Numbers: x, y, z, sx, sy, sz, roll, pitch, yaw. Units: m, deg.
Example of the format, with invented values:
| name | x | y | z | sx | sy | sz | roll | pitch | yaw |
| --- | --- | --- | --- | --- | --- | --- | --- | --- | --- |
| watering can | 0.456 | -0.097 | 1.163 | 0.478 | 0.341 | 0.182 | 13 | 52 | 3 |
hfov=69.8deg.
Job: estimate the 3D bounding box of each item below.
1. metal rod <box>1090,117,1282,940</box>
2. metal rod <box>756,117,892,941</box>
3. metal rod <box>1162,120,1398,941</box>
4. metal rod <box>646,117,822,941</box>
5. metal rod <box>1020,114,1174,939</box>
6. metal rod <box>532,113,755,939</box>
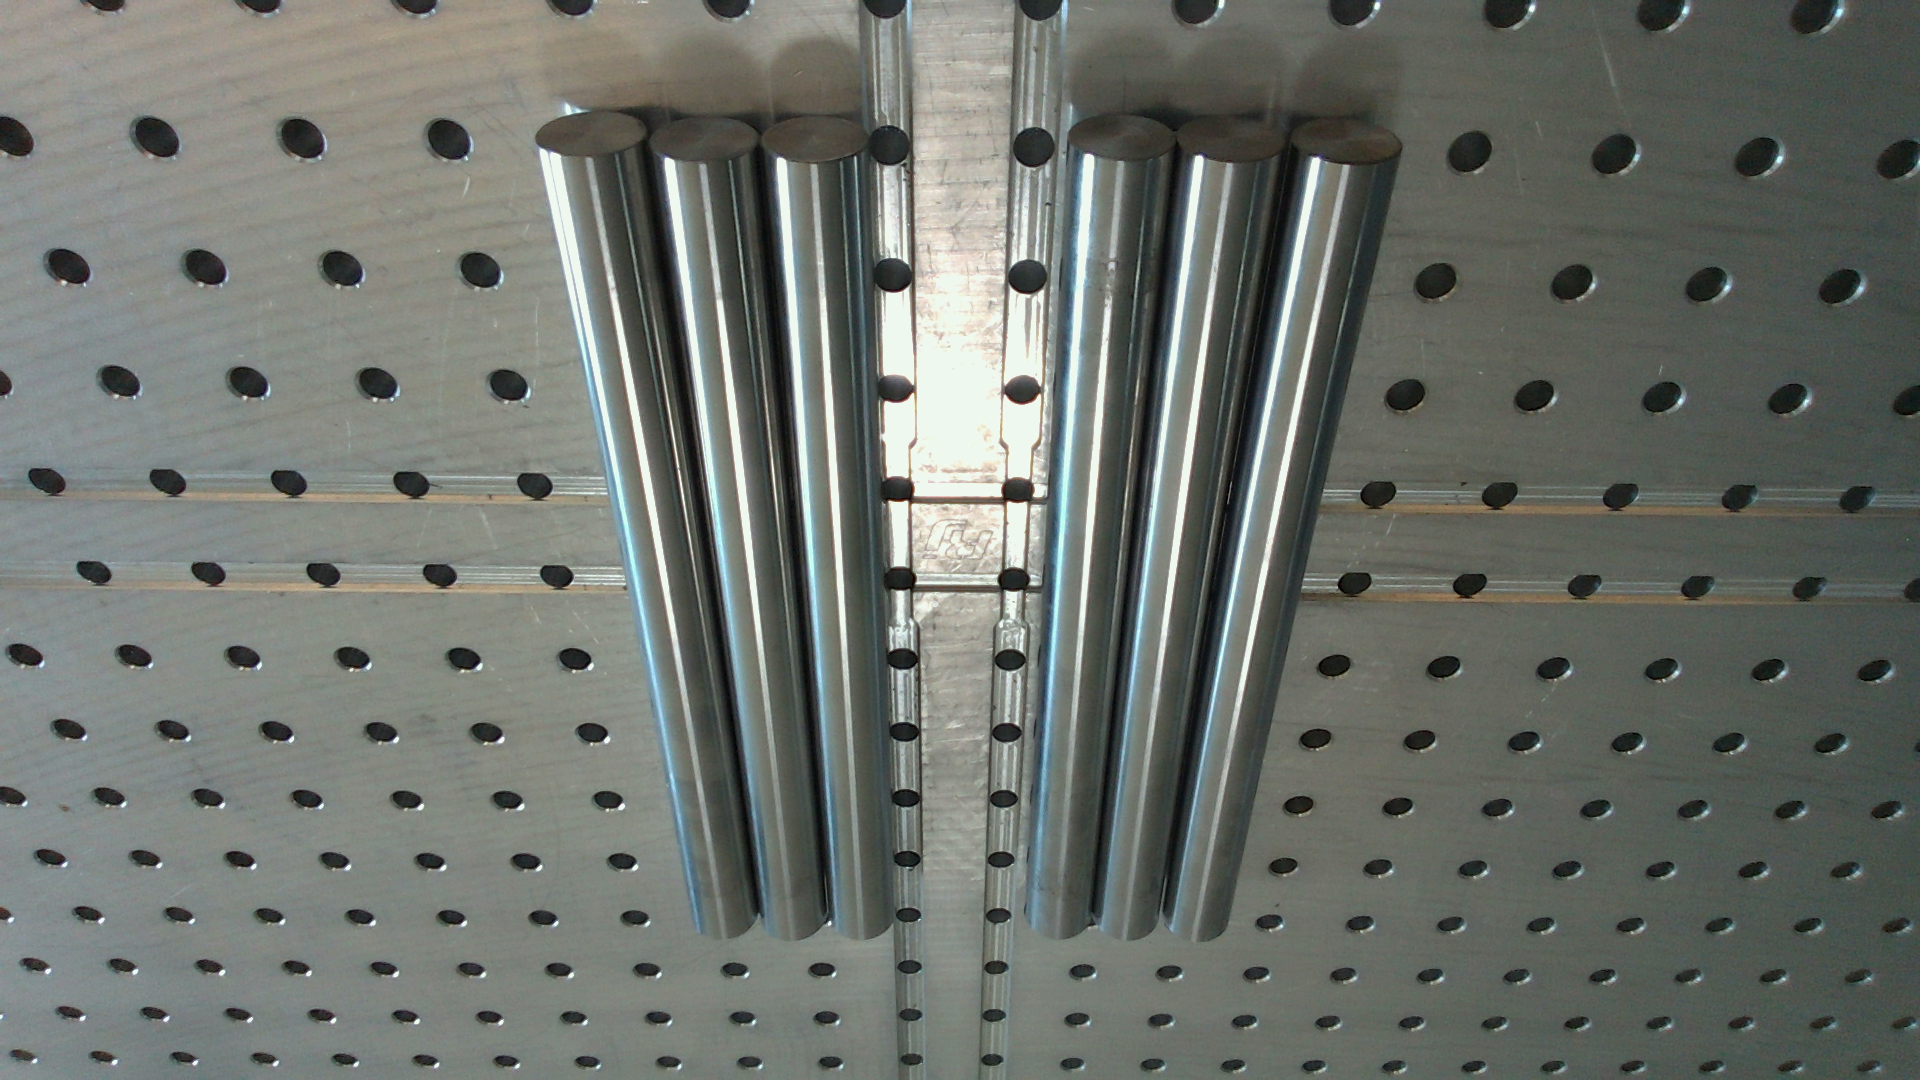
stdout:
| name | x | y | z | sx | sy | sz | roll | pitch | yaw |
| --- | --- | --- | --- | --- | --- | --- | --- | --- | --- |
| metal rod | 0.060 | 0.023 | 0.412 | 0.025 | 0.025 | 0.300 | 0 | 130 | 0 |
| metal rod | -0.035 | 0.023 | 0.412 | 0.025 | 0.025 | 0.300 | 0 | 130 | 0 |
| metal rod | 0.087 | 0.023 | 0.413 | 0.025 | 0.025 | 0.300 | 0 | 130 | 0 |
| metal rod | -0.060 | 0.023 | 0.412 | 0.025 | 0.025 | 0.300 | 0 | 130 | 0 |
| metal rod | 0.035 | 0.022 | 0.412 | 0.025 | 0.025 | 0.300 | 0 | 130 | 0 |
| metal rod | -0.086 | 0.022 | 0.411 | 0.025 | 0.025 | 0.300 | 0 | 130 | 0 |
